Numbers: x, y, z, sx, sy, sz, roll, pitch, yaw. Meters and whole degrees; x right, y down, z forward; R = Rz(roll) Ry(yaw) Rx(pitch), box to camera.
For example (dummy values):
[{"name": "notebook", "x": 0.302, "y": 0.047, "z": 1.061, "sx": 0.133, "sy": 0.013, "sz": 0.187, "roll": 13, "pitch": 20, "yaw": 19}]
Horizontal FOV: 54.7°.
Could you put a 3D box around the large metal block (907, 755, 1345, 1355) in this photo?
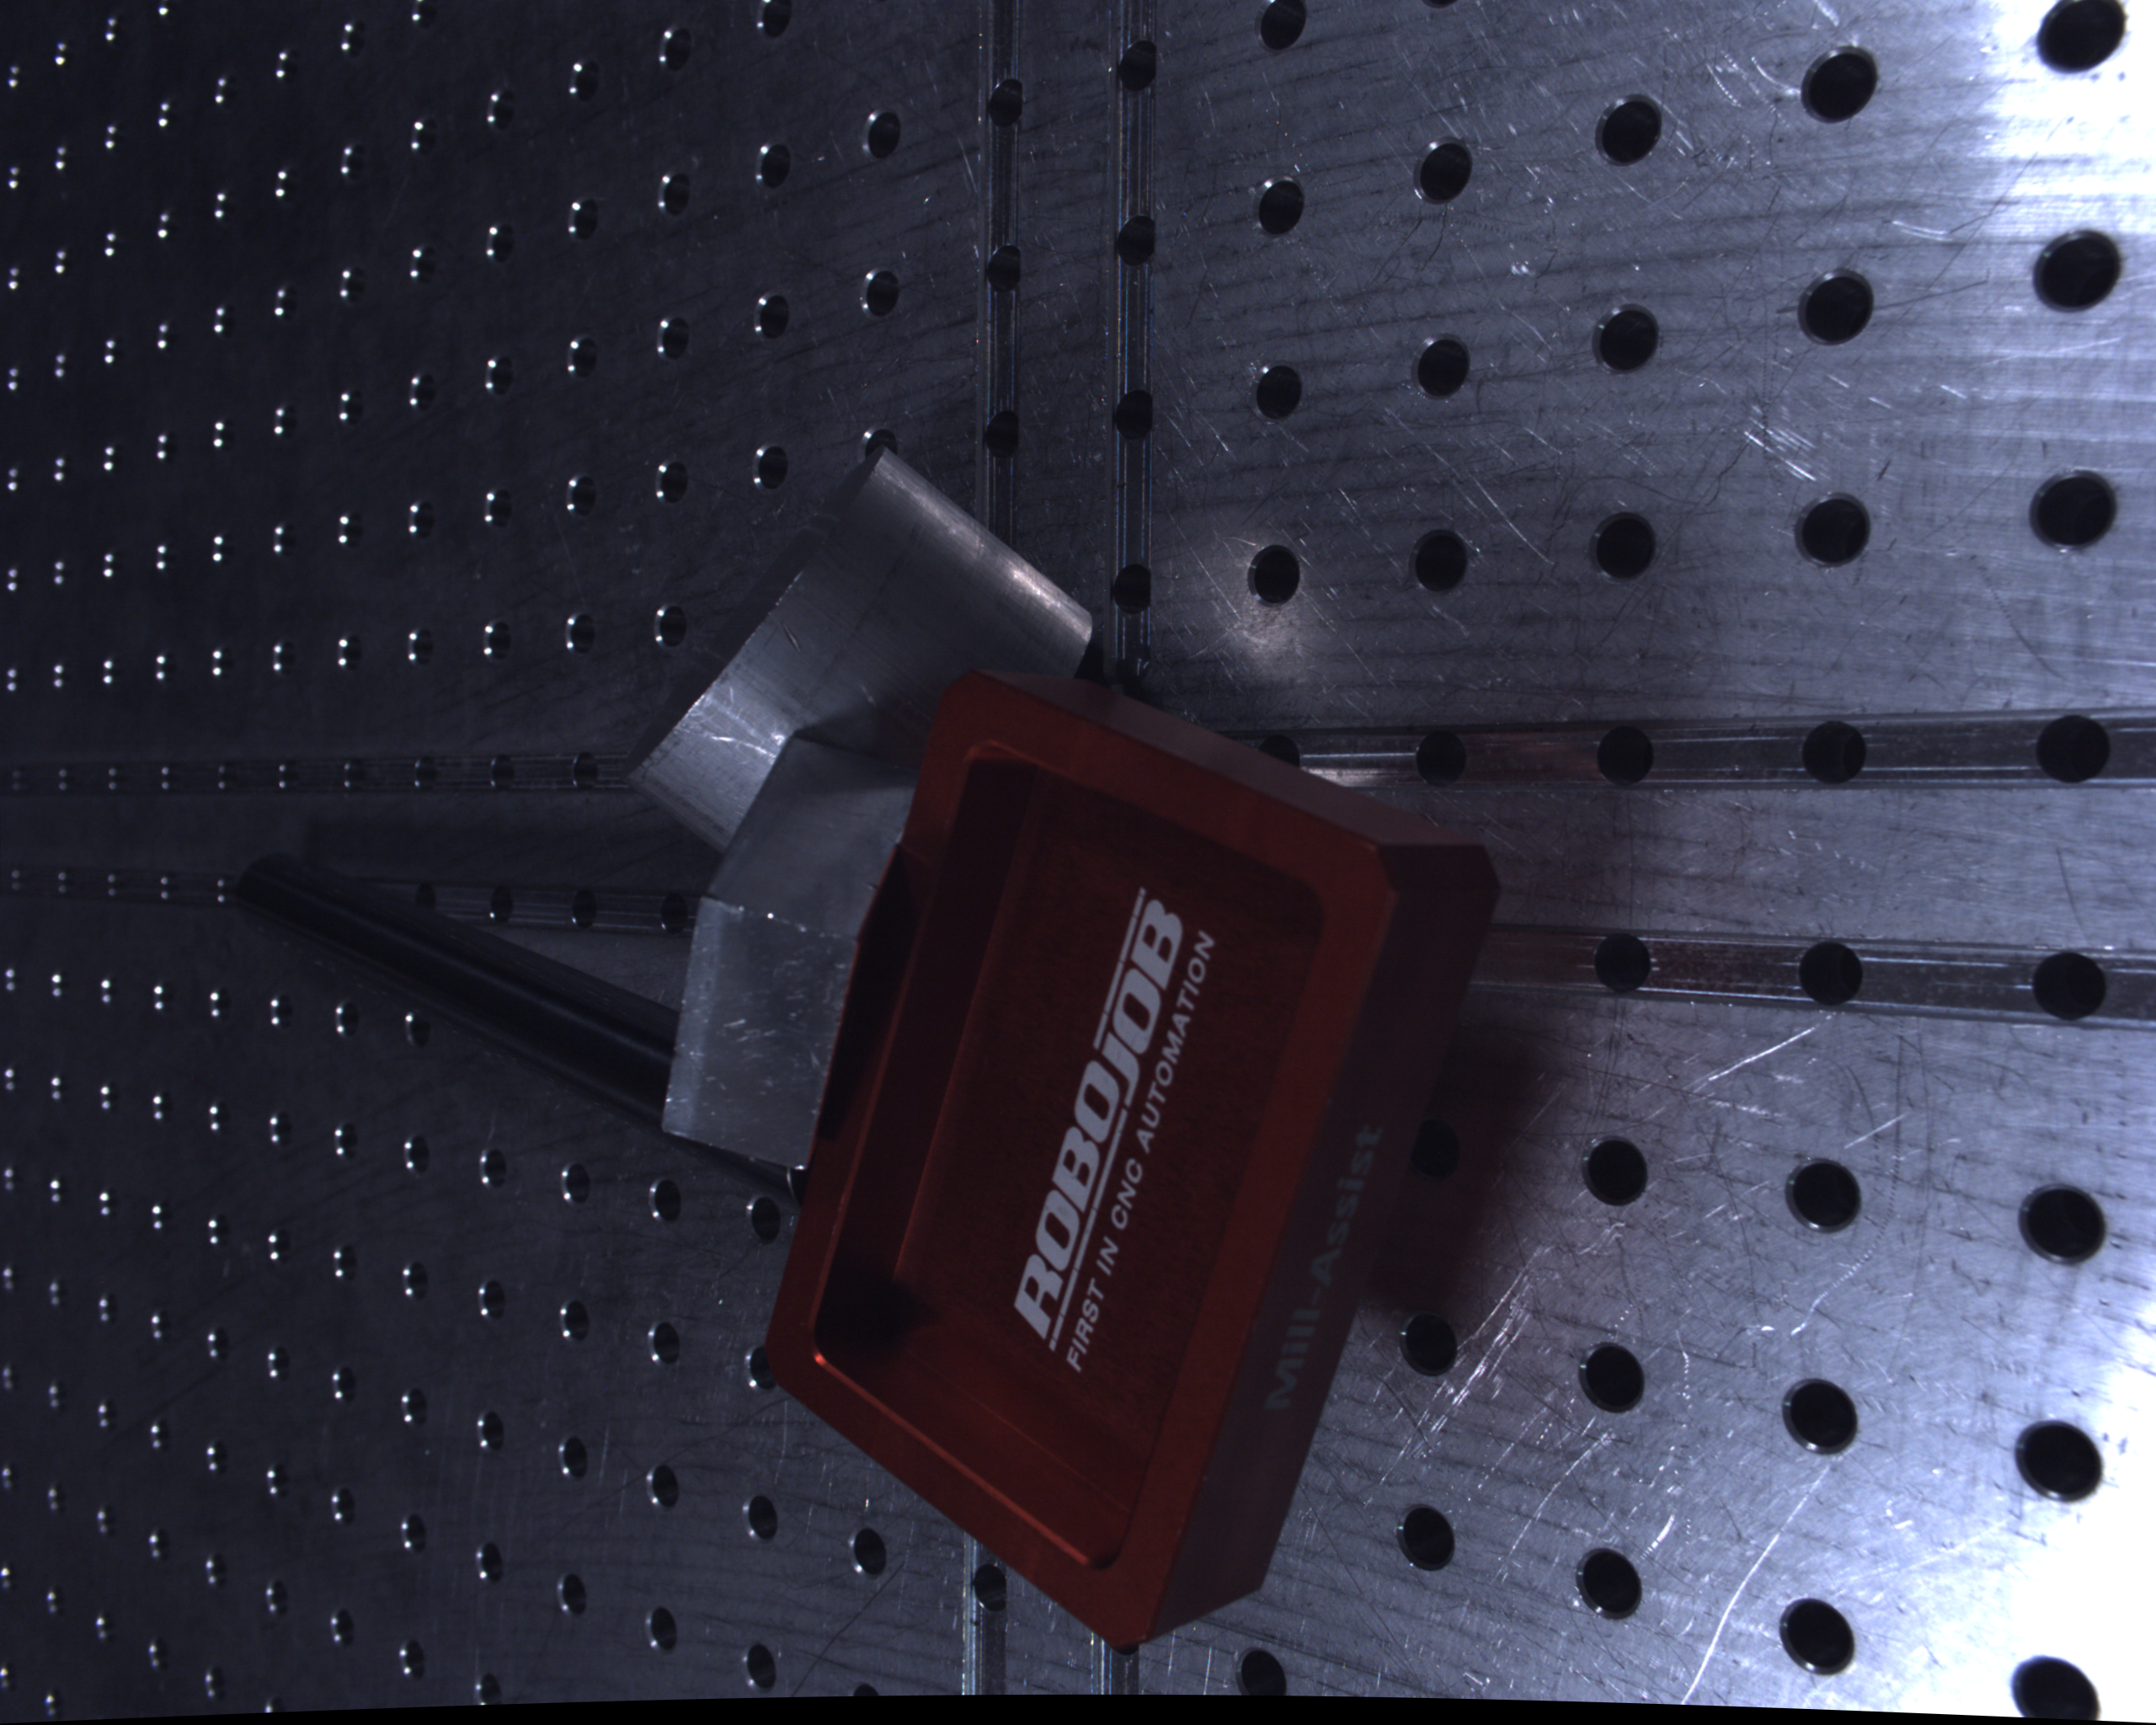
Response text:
[{"name": "large metal block", "x": 0.003, "y": 0.035, "z": 0.387, "sx": 0.080, "sy": 0.050, "sz": 0.080, "roll": -42, "pitch": 65, "yaw": 31}]

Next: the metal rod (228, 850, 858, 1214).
[{"name": "metal rod", "x": -0.136, "y": 0.030, "z": 0.480, "sx": 0.300, "sy": 0.025, "sz": 0.025, "roll": 13, "pitch": 99, "yaw": 50}]

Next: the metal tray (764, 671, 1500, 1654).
[{"name": "metal tray", "x": 0.003, "y": 0.044, "z": 0.332, "sx": 0.090, "sy": 0.030, "sz": 0.129, "roll": 26, "pitch": 106, "yaw": 37}]

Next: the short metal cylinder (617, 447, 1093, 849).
[{"name": "short metal cylinder", "x": -0.043, "y": -0.033, "z": 0.399, "sx": 0.050, "sy": 0.080, "sz": 0.080, "roll": 39, "pitch": 123, "yaw": -15}]

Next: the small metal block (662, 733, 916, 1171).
[{"name": "small metal block", "x": -0.047, "y": 0.014, "z": 0.352, "sx": 0.025, "sy": 0.050, "sz": 0.050, "roll": 16, "pitch": 124, "yaw": 0}]
